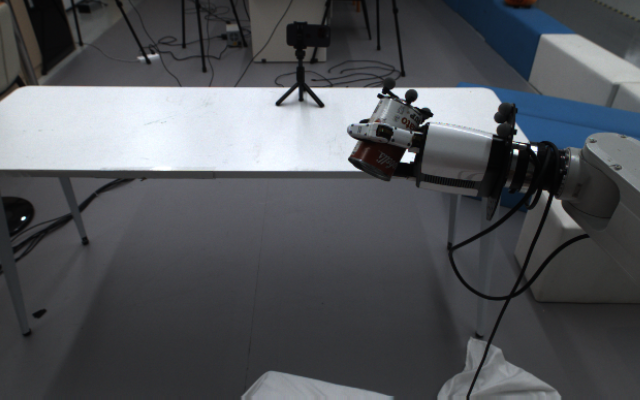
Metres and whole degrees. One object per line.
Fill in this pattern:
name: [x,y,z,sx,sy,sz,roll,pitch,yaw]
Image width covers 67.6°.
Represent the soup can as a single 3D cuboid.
soup can: [0.093,-0.087,0.683,0.067,0.101,0.067,29,-2,1]
